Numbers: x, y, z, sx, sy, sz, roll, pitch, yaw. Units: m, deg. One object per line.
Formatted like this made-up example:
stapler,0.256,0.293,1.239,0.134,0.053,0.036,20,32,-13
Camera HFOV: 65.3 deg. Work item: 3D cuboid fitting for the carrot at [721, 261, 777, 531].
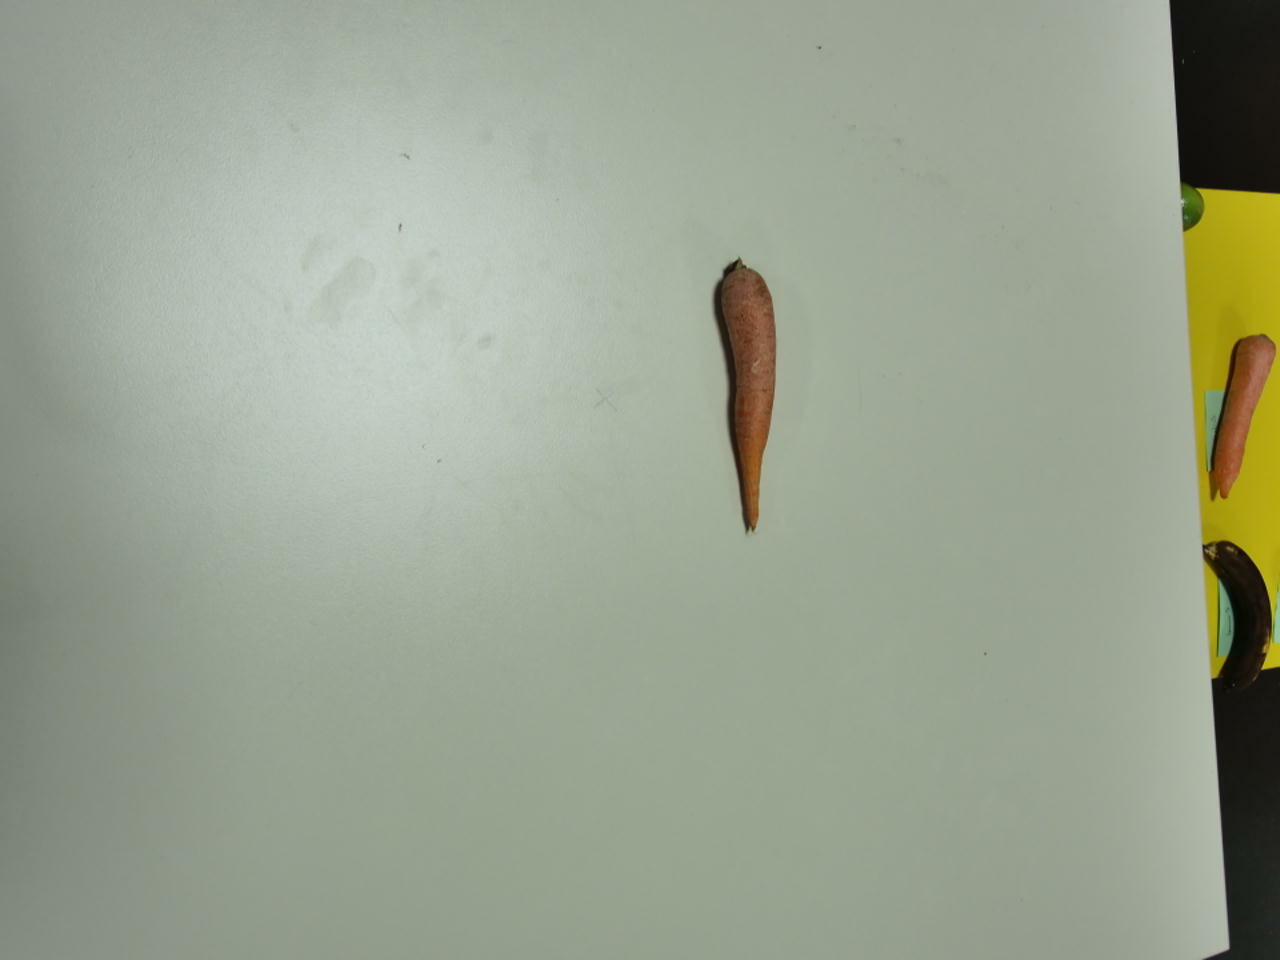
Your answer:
carrot,0.069,-0.050,0.601,0.031,0.029,0.163,-6,93,-22
